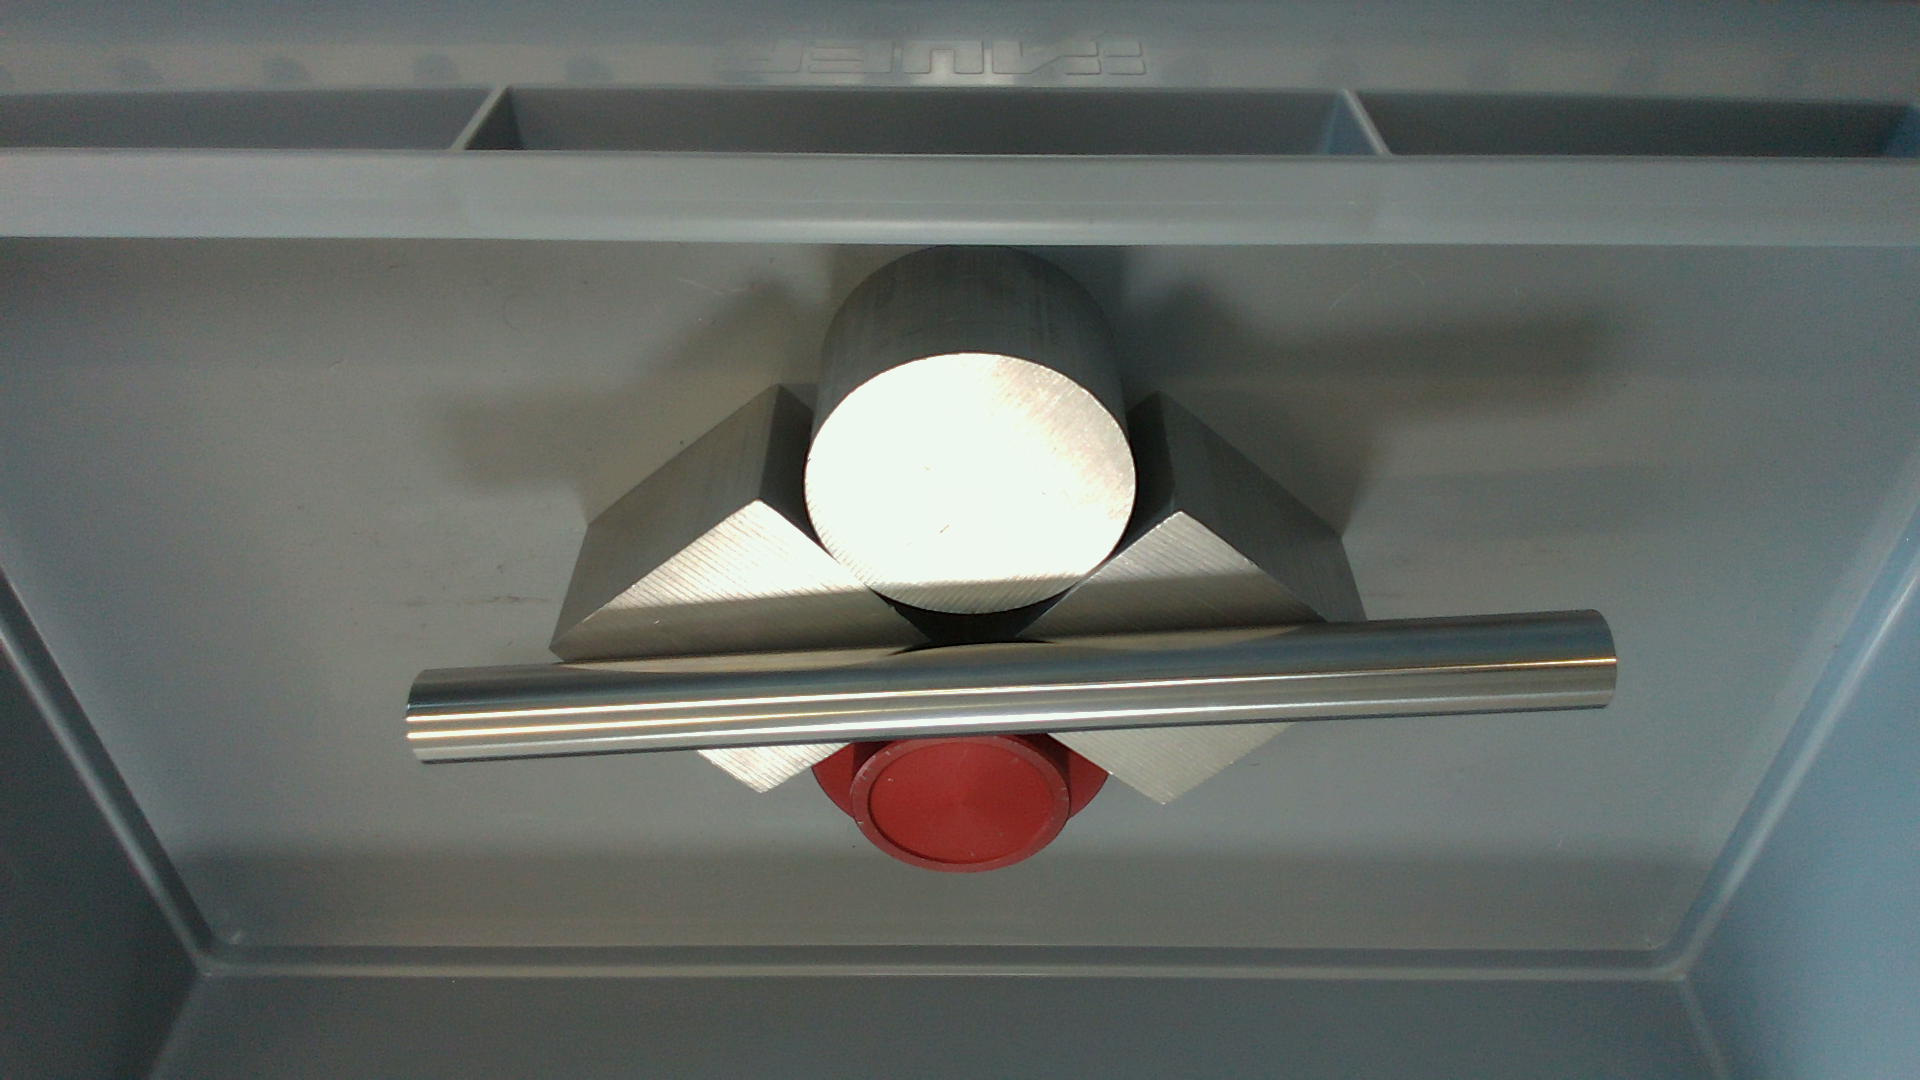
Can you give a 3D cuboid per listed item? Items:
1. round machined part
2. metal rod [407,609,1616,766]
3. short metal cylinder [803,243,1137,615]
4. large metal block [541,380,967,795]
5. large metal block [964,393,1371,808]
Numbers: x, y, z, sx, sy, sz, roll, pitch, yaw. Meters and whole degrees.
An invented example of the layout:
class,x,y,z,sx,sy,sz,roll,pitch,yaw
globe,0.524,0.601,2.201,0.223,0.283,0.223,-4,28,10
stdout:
class,x,y,z,sx,sy,sz,roll,pitch,yaw
round machined part,0.000,0.068,0.435,0.098,0.042,0.098,0,130,0
metal rod,0.010,0.038,0.353,0.300,0.025,0.025,-3,130,3
short metal cylinder,0.002,-0.027,0.349,0.080,0.050,0.080,0,130,0
large metal block,-0.054,0.016,0.385,0.080,0.050,0.080,-33,125,24
large metal block,0.058,0.020,0.386,0.080,0.050,0.080,35,123,-26
